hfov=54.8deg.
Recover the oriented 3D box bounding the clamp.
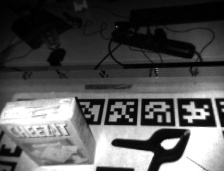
[{"bbox_3d":[0.103,0.165,0.563,0.203,0.037,0.163,-25,52,-8],"label":"clamp"}]

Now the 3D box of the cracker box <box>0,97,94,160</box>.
[{"bbox_3d":[-0.148,0.115,0.534,0.163,0.215,0.071,-4,50,8],"label":"cracker box"}]

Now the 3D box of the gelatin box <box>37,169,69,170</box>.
[{"bbox_3d":[-0.156,0.255,0.553,0.089,0.030,0.073,-2,53,11],"label":"gelatin box"}]

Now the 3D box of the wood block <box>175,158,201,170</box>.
[{"bbox_3d":[0.118,0.268,0.447,0.088,0.092,0.207,29,60,33],"label":"wood block"}]
